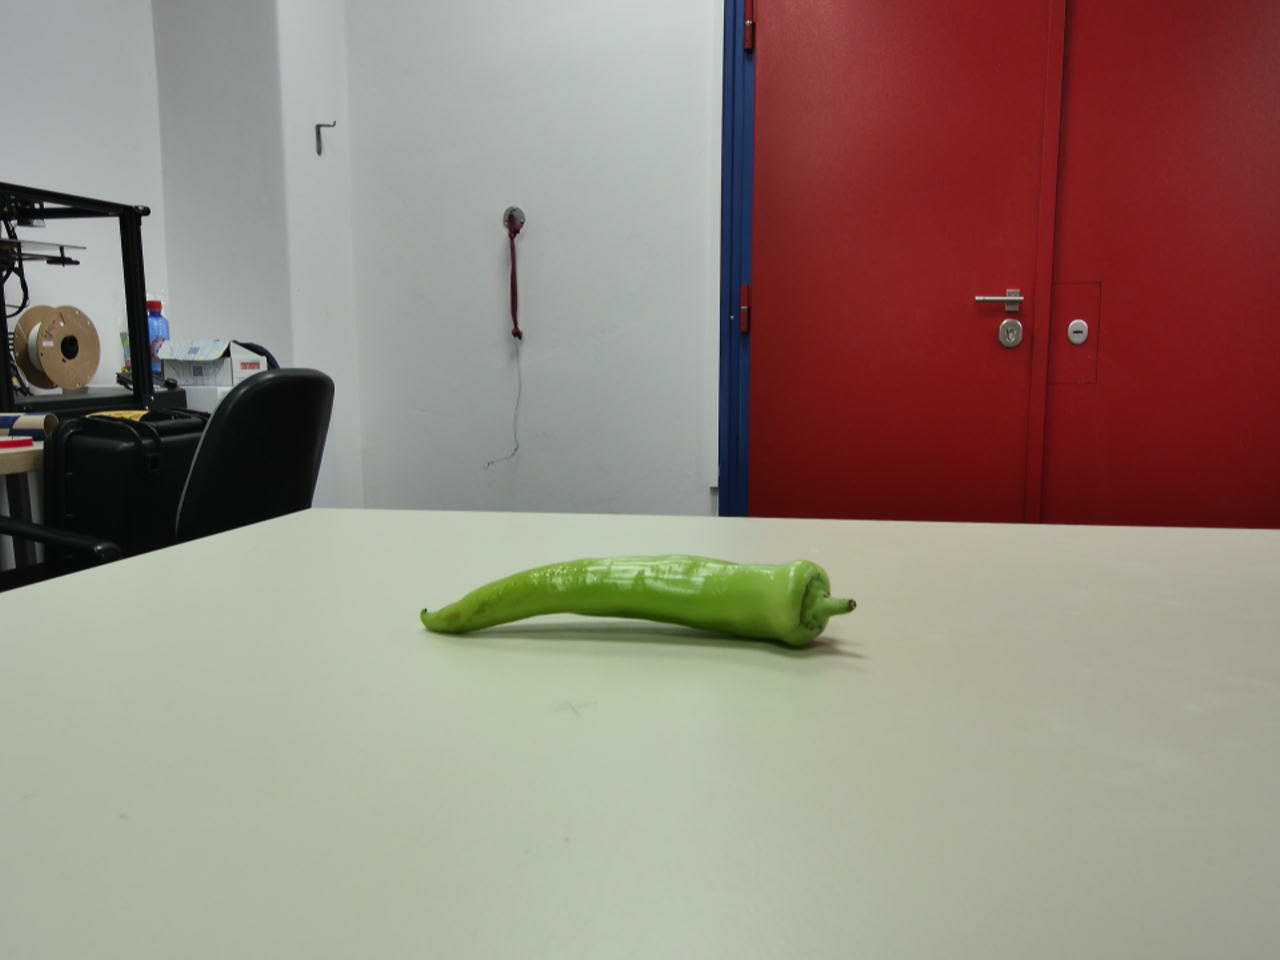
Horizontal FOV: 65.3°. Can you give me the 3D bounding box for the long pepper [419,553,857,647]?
[{"bbox_3d":[-0.003,0.051,0.446,0.197,0.038,0.046,1,4,15],"label":"long pepper"}]
